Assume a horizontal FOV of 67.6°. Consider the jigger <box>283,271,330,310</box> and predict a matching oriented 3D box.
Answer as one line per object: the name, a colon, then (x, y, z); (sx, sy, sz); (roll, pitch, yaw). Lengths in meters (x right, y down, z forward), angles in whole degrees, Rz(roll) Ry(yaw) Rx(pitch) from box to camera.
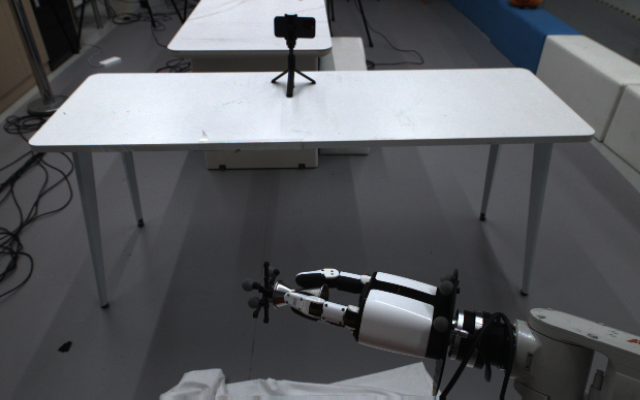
jigger: (-0.018, 0.127, 0.663); (0.071, 0.043, 0.043); (2, 34, 17)
